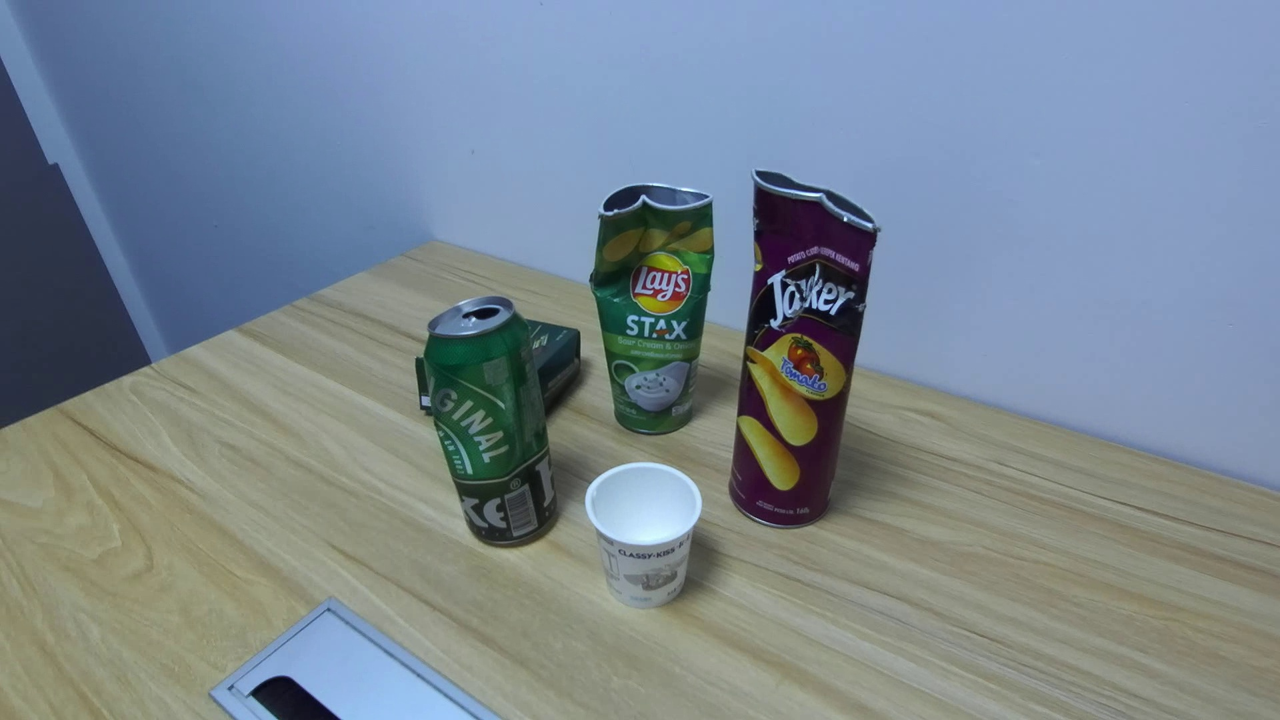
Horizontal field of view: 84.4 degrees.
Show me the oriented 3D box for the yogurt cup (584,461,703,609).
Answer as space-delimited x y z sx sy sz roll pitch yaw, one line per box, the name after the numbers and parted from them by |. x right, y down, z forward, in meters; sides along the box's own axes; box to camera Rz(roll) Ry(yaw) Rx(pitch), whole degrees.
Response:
0.003 0.115 0.451 0.072 0.068 0.072 -1 33 1 | yogurt cup

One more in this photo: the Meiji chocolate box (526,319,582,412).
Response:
-0.123 0.008 0.641 0.122 0.058 0.116 11 33 17 | Meiji chocolate box

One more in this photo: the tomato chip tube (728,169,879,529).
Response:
0.102 0.002 0.470 0.078 0.236 0.090 6 36 14 | tomato chip tube

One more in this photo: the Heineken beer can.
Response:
-0.098 0.044 0.477 0.068 0.168 0.069 -12 29 -11 | Heineken beer can

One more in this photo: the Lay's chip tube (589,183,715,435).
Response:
0.010 -0.038 0.565 0.077 0.201 0.069 -20 37 -23 | Lay's chip tube
